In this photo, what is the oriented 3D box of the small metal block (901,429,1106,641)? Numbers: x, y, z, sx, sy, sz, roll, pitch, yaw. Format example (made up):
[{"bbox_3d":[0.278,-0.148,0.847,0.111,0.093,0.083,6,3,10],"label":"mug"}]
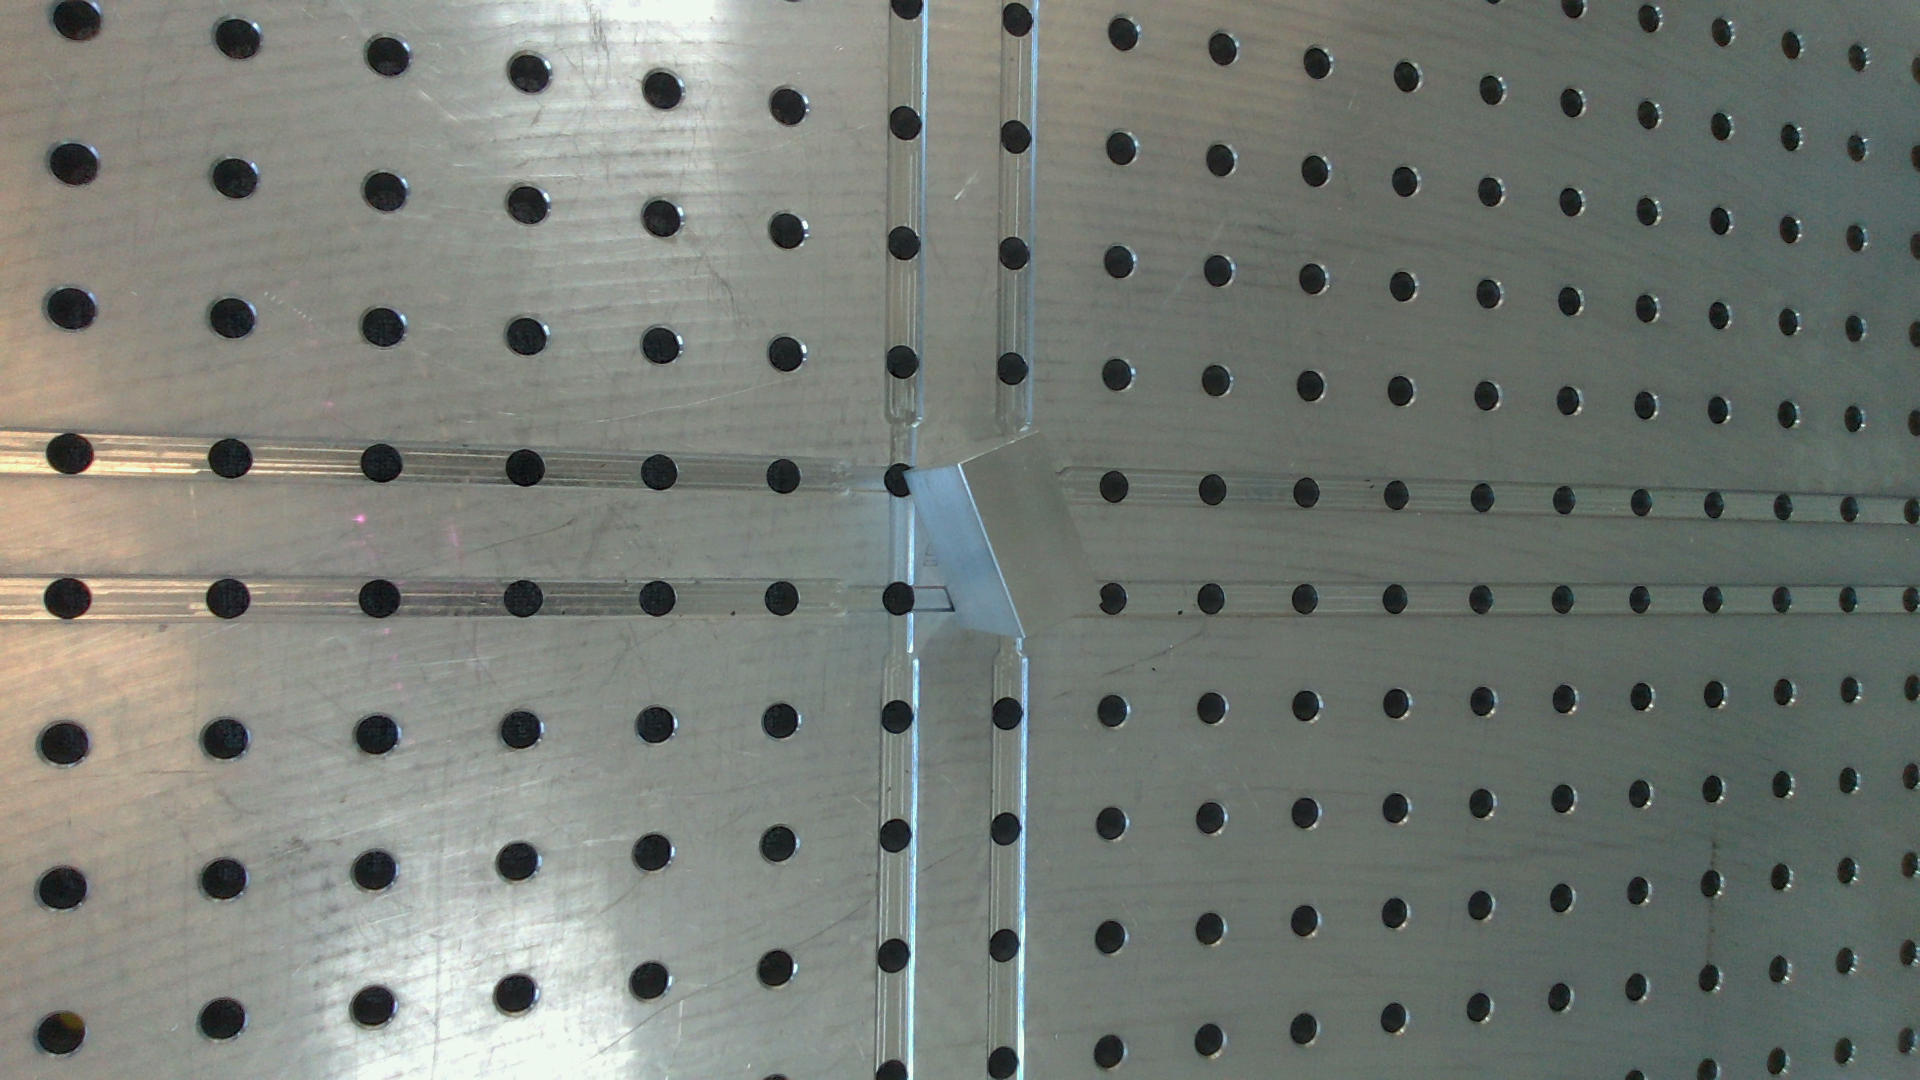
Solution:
[{"bbox_3d":[0.011,-0.002,0.386,0.025,0.050,0.050,-24,98,-18],"label":"small metal block"}]
